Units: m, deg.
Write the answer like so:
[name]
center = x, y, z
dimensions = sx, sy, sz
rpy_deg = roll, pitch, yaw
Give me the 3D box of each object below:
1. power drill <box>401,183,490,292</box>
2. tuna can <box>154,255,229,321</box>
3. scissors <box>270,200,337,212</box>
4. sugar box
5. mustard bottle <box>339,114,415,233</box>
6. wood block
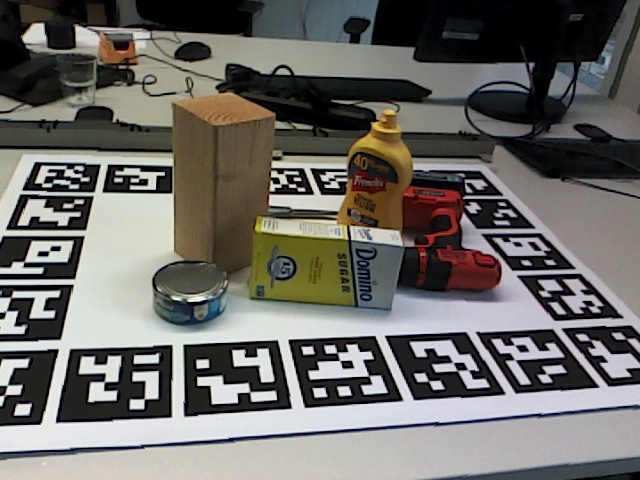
[power drill]
center = 0.132, -0.007, 0.862
dimensions = 0.184, 0.057, 0.187
rpy_deg = 6, 39, -1
[tuna can]
center = -0.150, 0.055, 0.722
dimensions = 0.085, 0.033, 0.086
rpy_deg = 6, 33, -4
[scissors]
center = -0.073, -0.050, 0.925
dimensions = 0.202, 0.016, 0.088
rpy_deg = 1, 29, -11
[sugar box]
center = 0.012, 0.029, 0.752
dimensions = 0.176, 0.093, 0.045
rpy_deg = 7, 29, -3
[mustard bottle]
center = 0.083, -0.083, 0.863
dimensions = 0.097, 0.191, 0.058
rpy_deg = 29, 39, 28
[wood block]
center = -0.122, -0.065, 0.781
dimensions = 0.090, 0.206, 0.090
rpy_deg = -20, 42, -36
